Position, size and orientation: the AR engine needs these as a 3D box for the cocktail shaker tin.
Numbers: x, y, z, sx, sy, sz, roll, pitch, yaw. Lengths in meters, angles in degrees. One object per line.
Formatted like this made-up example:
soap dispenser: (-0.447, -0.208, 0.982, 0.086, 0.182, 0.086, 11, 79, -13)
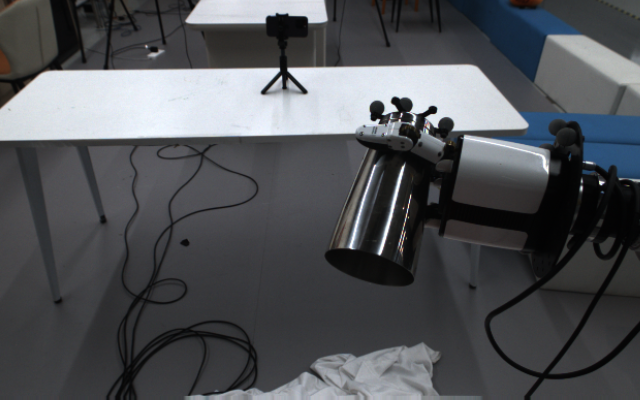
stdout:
cocktail shaker tin: (0.076, -0.009, 0.510, 0.093, 0.093, 0.170, 13, 65, 15)
